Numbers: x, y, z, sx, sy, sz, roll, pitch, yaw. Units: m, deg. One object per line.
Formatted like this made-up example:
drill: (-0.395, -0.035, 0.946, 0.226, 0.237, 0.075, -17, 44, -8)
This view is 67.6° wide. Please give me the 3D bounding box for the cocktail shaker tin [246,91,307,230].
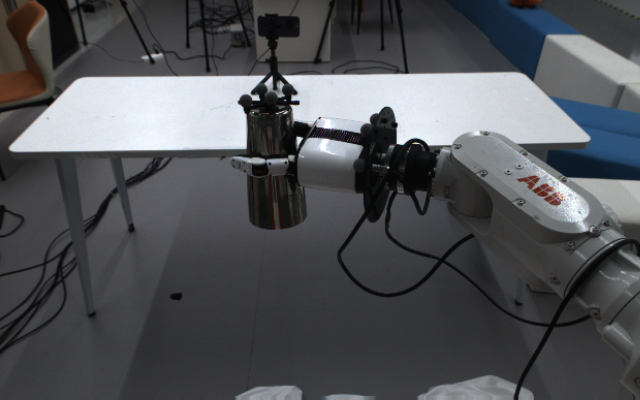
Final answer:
cocktail shaker tin: (-0.068, -0.053, 0.718, 0.093, 0.170, 0.093, -2, 26, 1)
